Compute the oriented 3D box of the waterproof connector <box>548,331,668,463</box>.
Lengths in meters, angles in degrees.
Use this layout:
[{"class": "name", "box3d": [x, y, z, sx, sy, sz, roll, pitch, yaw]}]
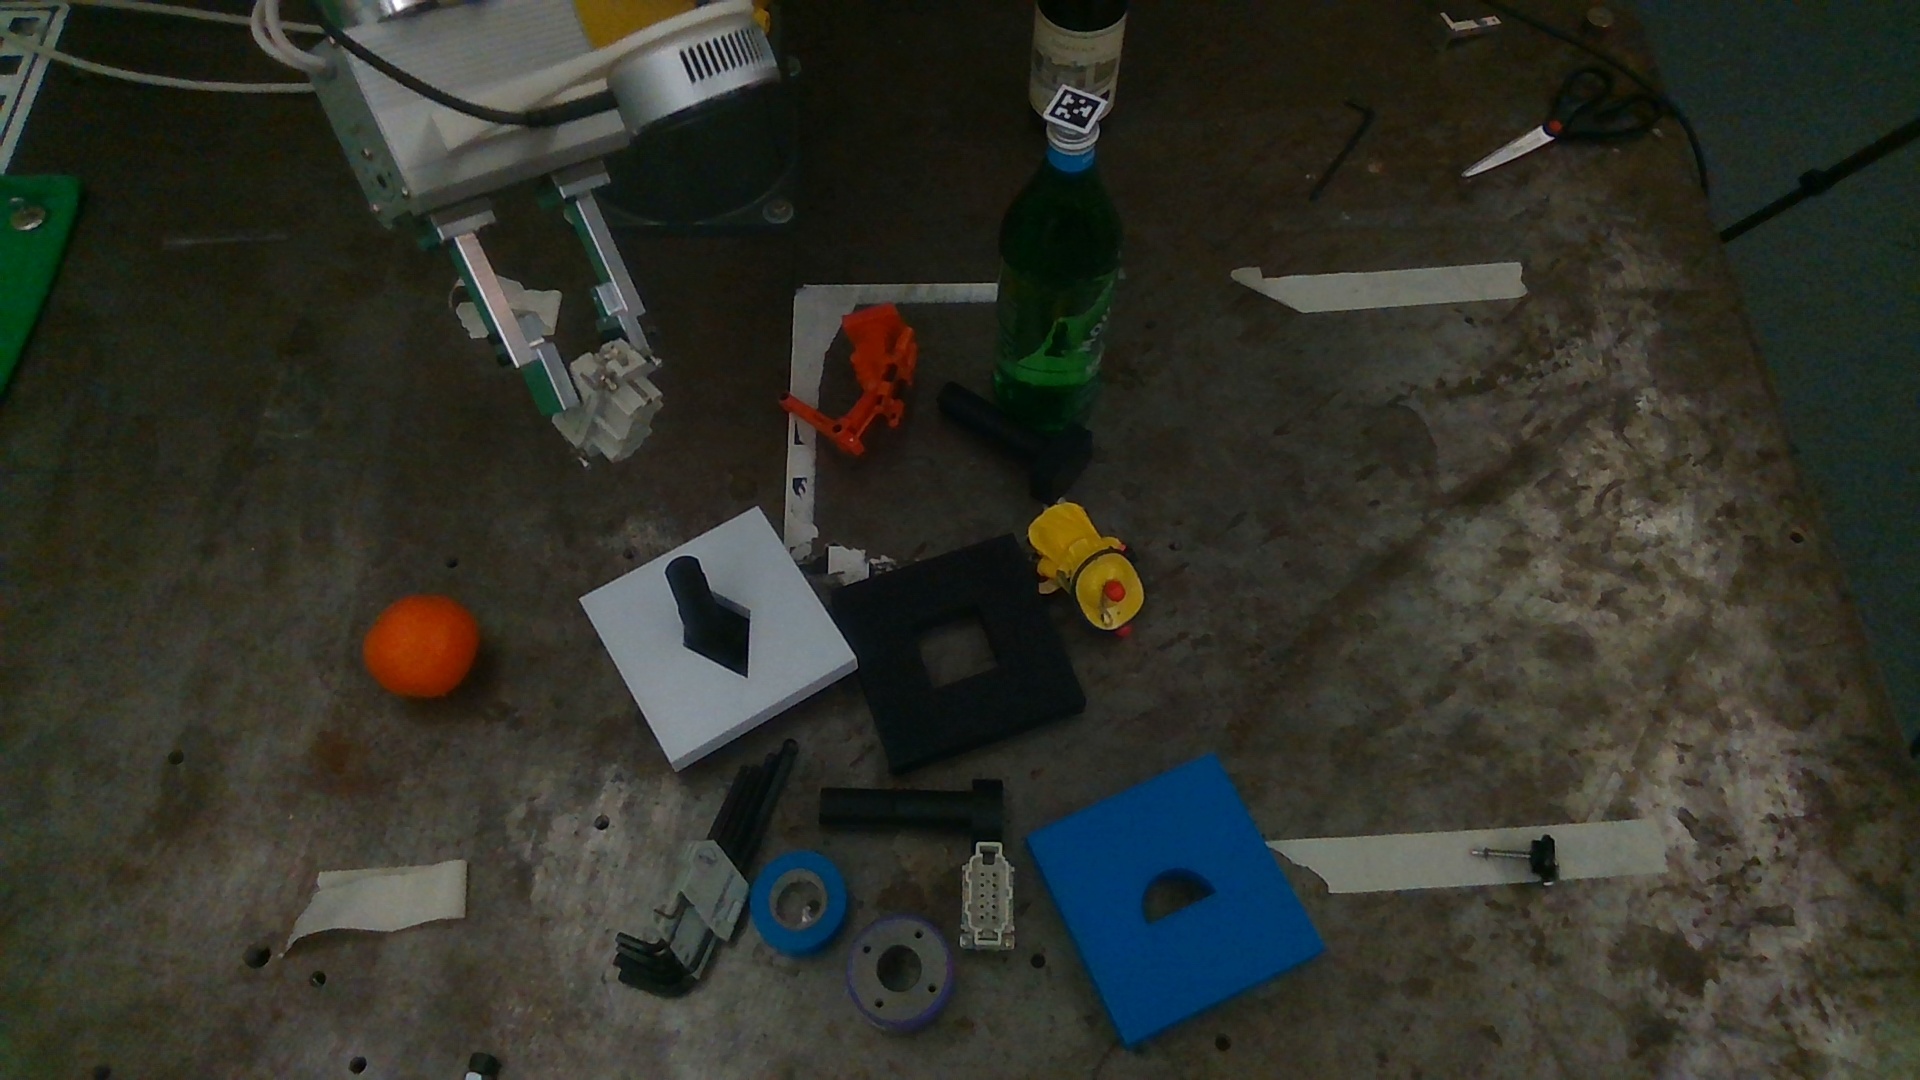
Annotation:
[{"class": "waterproof connector", "box3d": [-0.163, -0.065, 0.647, 0.038, 0.069, 0.036, 45, 44, 7]}]
